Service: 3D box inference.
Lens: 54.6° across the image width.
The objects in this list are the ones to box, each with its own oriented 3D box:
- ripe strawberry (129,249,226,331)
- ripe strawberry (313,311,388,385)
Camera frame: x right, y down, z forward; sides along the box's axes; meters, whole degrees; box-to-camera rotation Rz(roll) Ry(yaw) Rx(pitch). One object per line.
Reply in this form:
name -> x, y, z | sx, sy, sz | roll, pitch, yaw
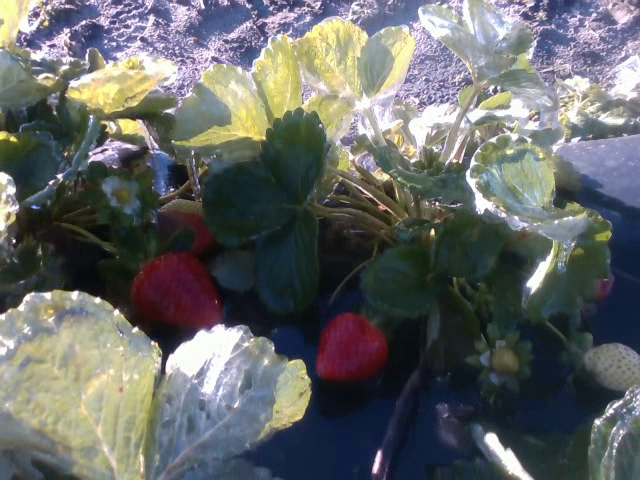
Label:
ripe strawberry -> -0.073, 0.027, 0.316 | 0.044, 0.056, 0.040 | -38, -24, -24
ripe strawberry -> 0.013, 0.054, 0.288 | 0.039, 0.040, 0.047 | 32, 50, 16
